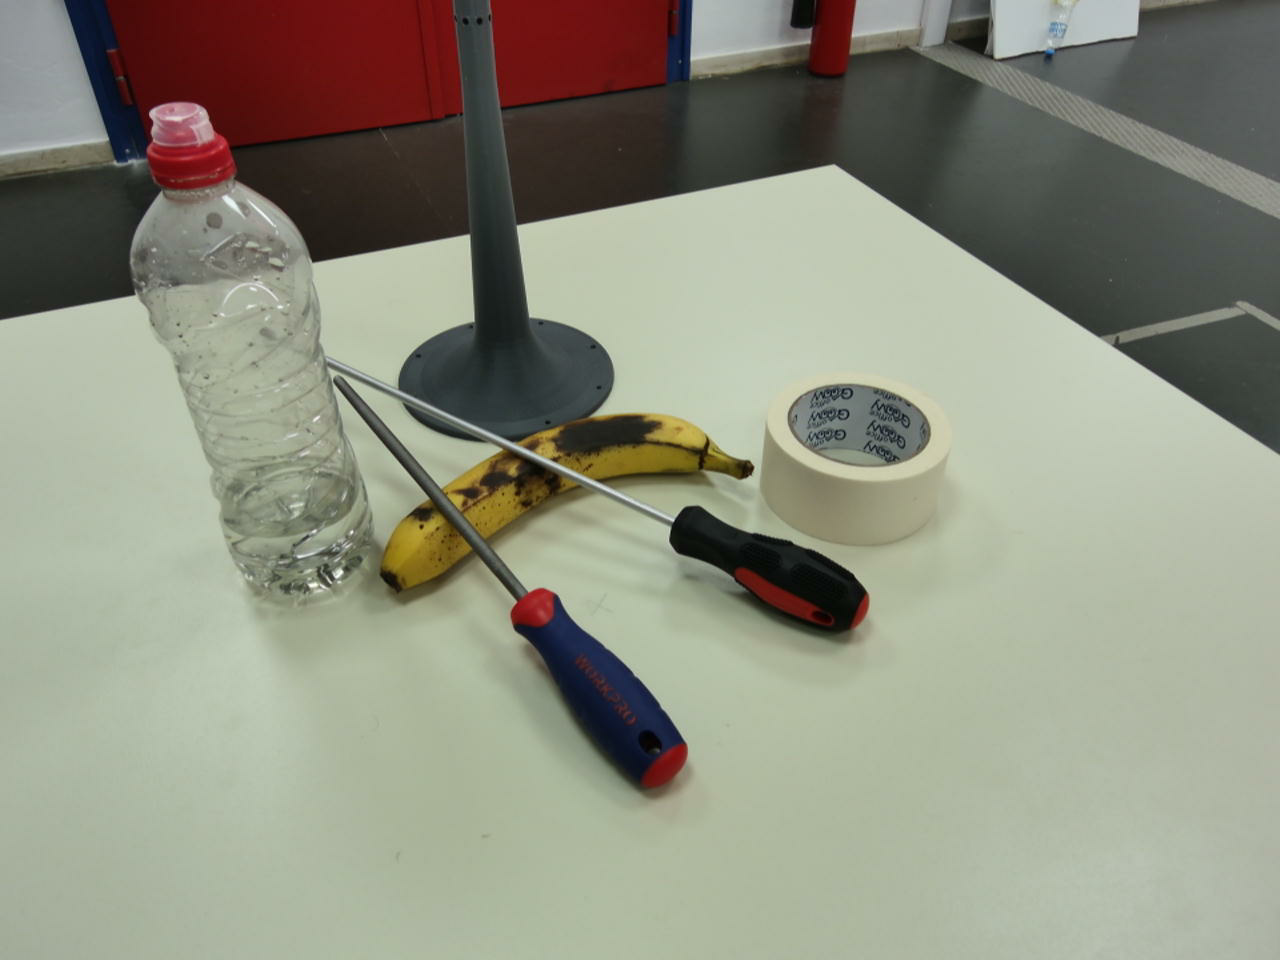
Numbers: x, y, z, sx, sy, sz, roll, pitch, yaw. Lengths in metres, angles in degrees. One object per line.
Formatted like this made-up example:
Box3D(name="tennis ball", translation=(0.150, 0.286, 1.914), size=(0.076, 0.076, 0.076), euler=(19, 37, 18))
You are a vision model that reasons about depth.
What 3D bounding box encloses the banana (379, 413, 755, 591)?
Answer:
Box3D(name="banana", translation=(-0.049, 0.001, 0.581), size=(0.222, 0.037, 0.084), euler=(-16, 42, -20))
